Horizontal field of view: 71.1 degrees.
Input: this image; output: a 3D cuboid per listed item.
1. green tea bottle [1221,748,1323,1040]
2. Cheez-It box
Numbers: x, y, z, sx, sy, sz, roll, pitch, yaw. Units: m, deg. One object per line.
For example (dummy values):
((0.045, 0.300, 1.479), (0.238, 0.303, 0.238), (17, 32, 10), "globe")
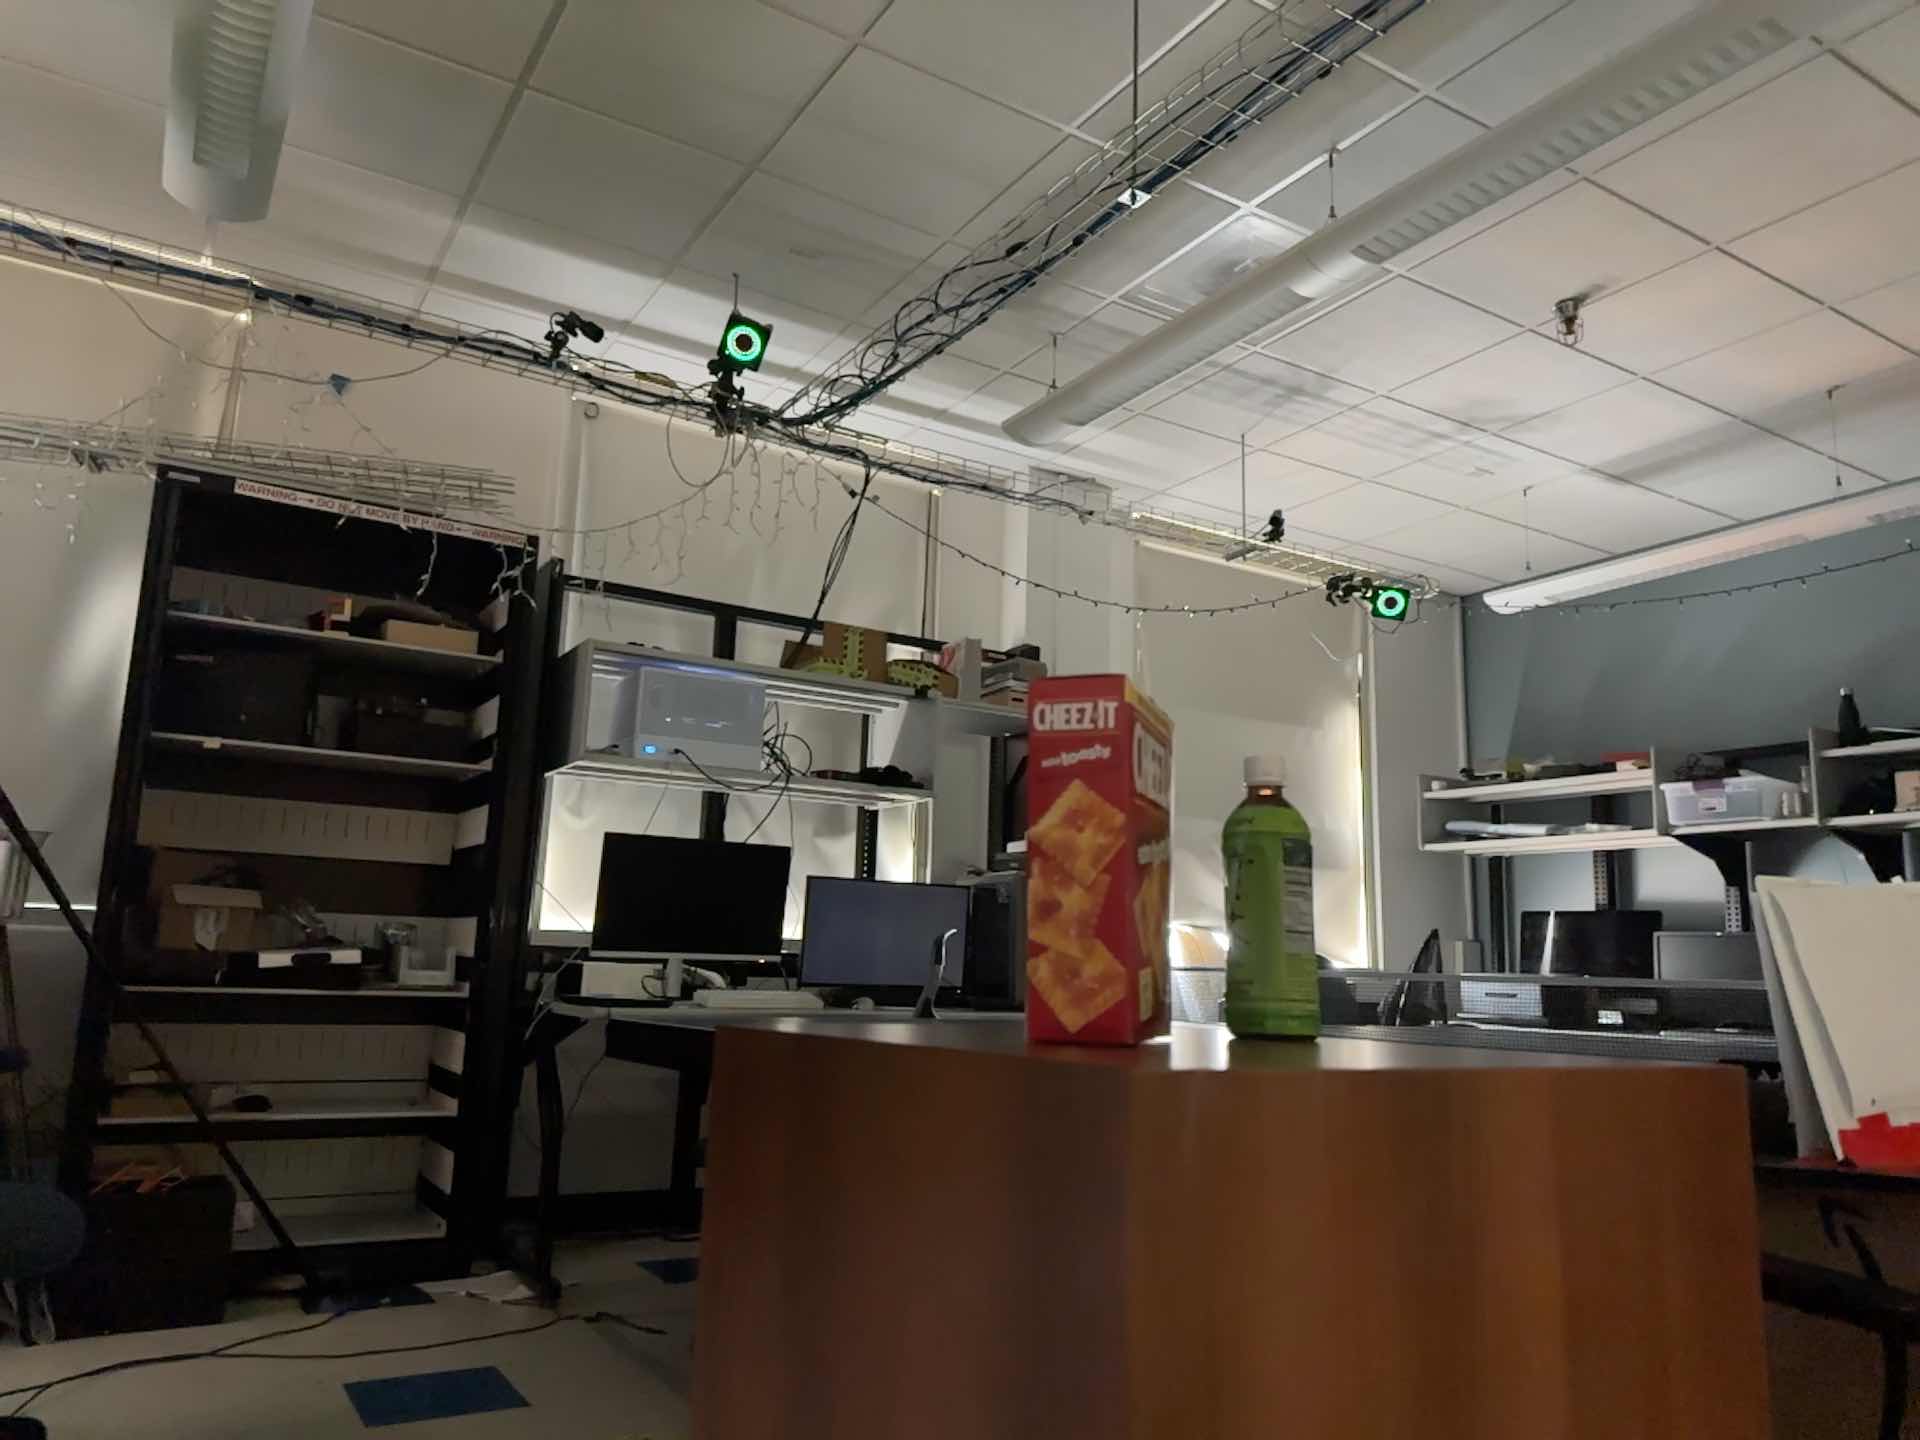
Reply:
((0.230, 0.126, 0.997), (0.073, 0.212, 0.073), (2, -11, 0), "green tea bottle")
((0.092, 0.090, 0.842), (0.062, 0.214, 0.159), (-1, -9, 16), "Cheez-It box")
